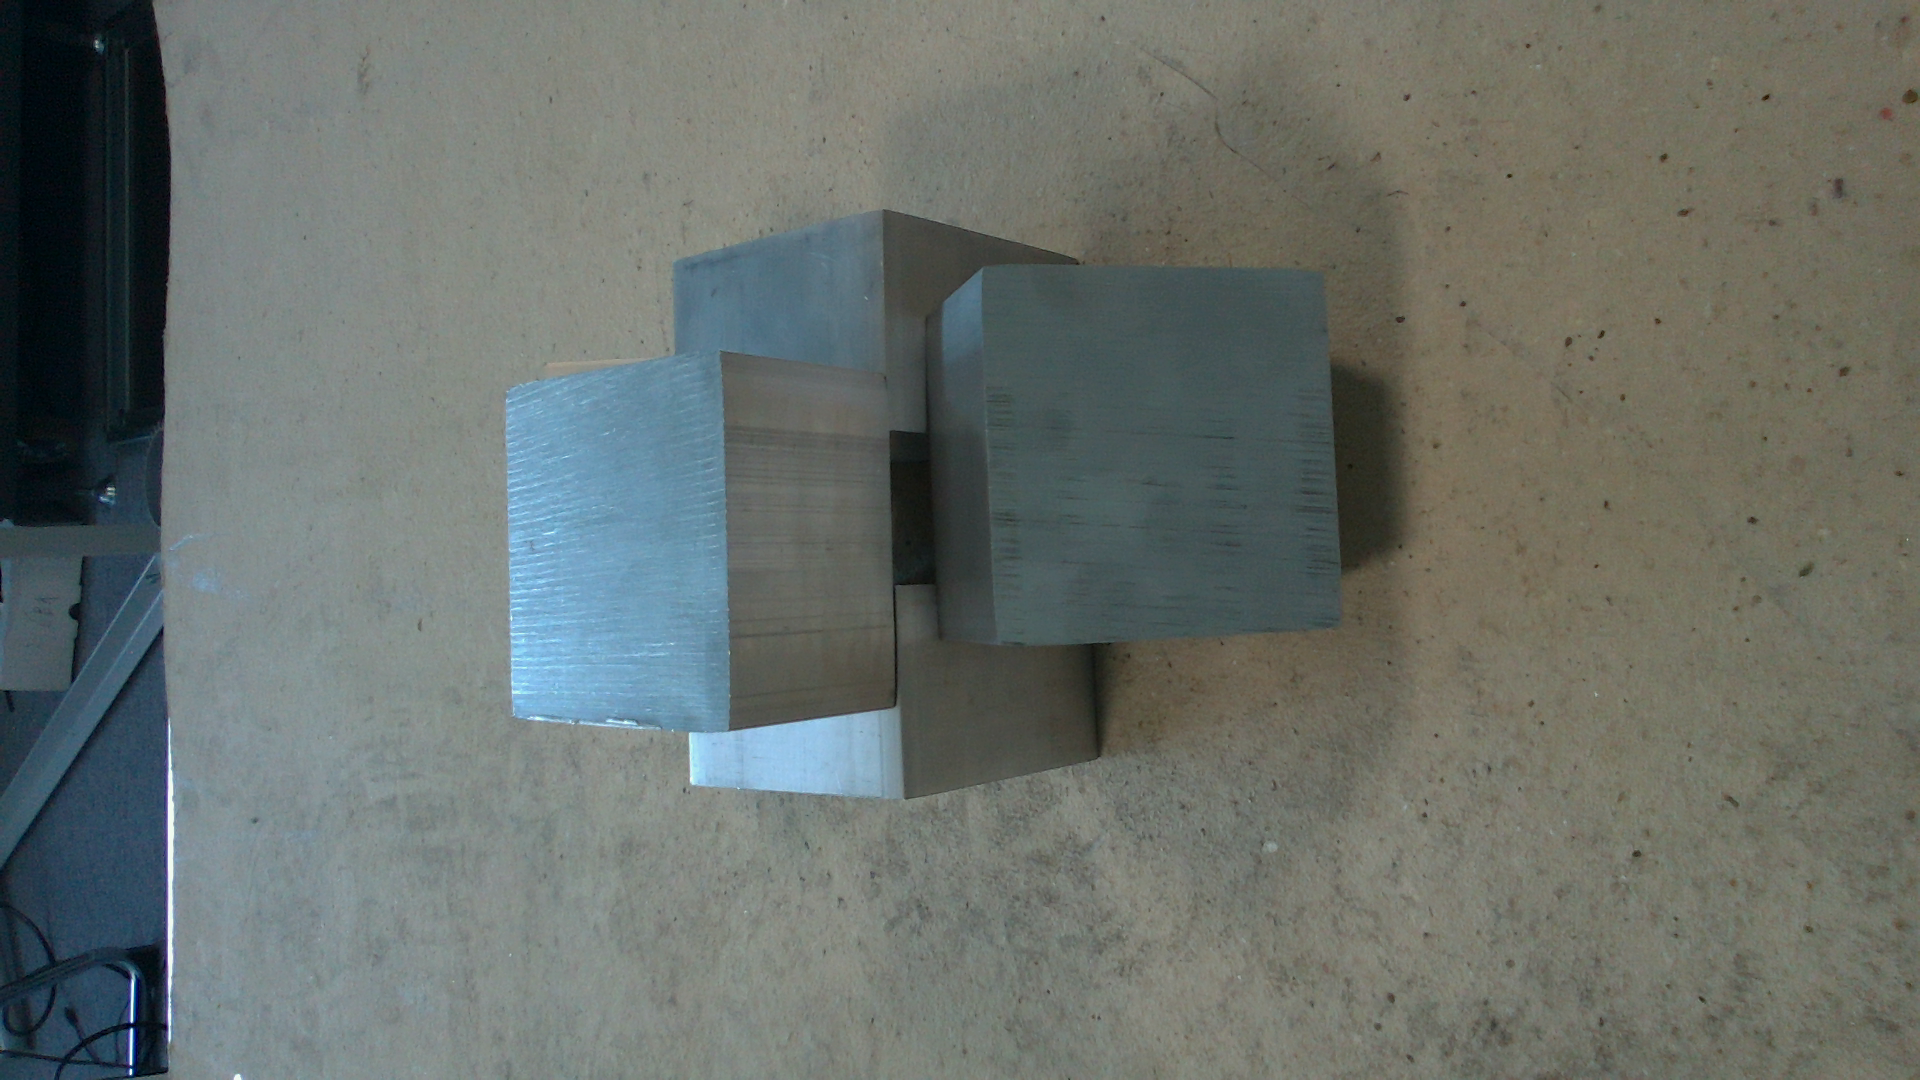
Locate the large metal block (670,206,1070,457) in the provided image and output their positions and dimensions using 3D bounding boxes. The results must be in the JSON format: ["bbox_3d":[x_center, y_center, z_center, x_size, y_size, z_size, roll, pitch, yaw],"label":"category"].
[{"bbox_3d":[-0.022,-0.052,0.378,0.080,0.080,0.050,-3,88,40],"label":"large metal block"}]

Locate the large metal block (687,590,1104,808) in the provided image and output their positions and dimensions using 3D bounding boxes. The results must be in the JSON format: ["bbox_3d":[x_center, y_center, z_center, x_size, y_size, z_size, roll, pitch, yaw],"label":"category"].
[{"bbox_3d":[-0.018,0.040,0.376,0.080,0.080,0.050,-5,87,40],"label":"large metal block"}]

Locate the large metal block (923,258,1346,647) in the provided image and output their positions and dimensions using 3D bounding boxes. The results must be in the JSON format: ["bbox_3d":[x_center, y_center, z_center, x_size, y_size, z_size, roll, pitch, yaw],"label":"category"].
[{"bbox_3d":[0.038,-0.018,0.317,0.050,0.080,0.080,170,98,-74],"label":"large metal block"}]

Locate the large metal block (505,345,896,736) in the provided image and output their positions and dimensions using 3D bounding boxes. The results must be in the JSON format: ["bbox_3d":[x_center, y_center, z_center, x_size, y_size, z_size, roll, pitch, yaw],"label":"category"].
[{"bbox_3d":[-0.063,0.001,0.326,0.080,0.050,0.080,-3,88,40],"label":"large metal block"}]

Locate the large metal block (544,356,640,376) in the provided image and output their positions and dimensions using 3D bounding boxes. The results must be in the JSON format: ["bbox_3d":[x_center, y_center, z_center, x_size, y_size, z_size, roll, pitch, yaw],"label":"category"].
[{"bbox_3d":[-0.090,-0.010,0.426,0.050,0.080,0.080,-3,87,0],"label":"large metal block"}]
